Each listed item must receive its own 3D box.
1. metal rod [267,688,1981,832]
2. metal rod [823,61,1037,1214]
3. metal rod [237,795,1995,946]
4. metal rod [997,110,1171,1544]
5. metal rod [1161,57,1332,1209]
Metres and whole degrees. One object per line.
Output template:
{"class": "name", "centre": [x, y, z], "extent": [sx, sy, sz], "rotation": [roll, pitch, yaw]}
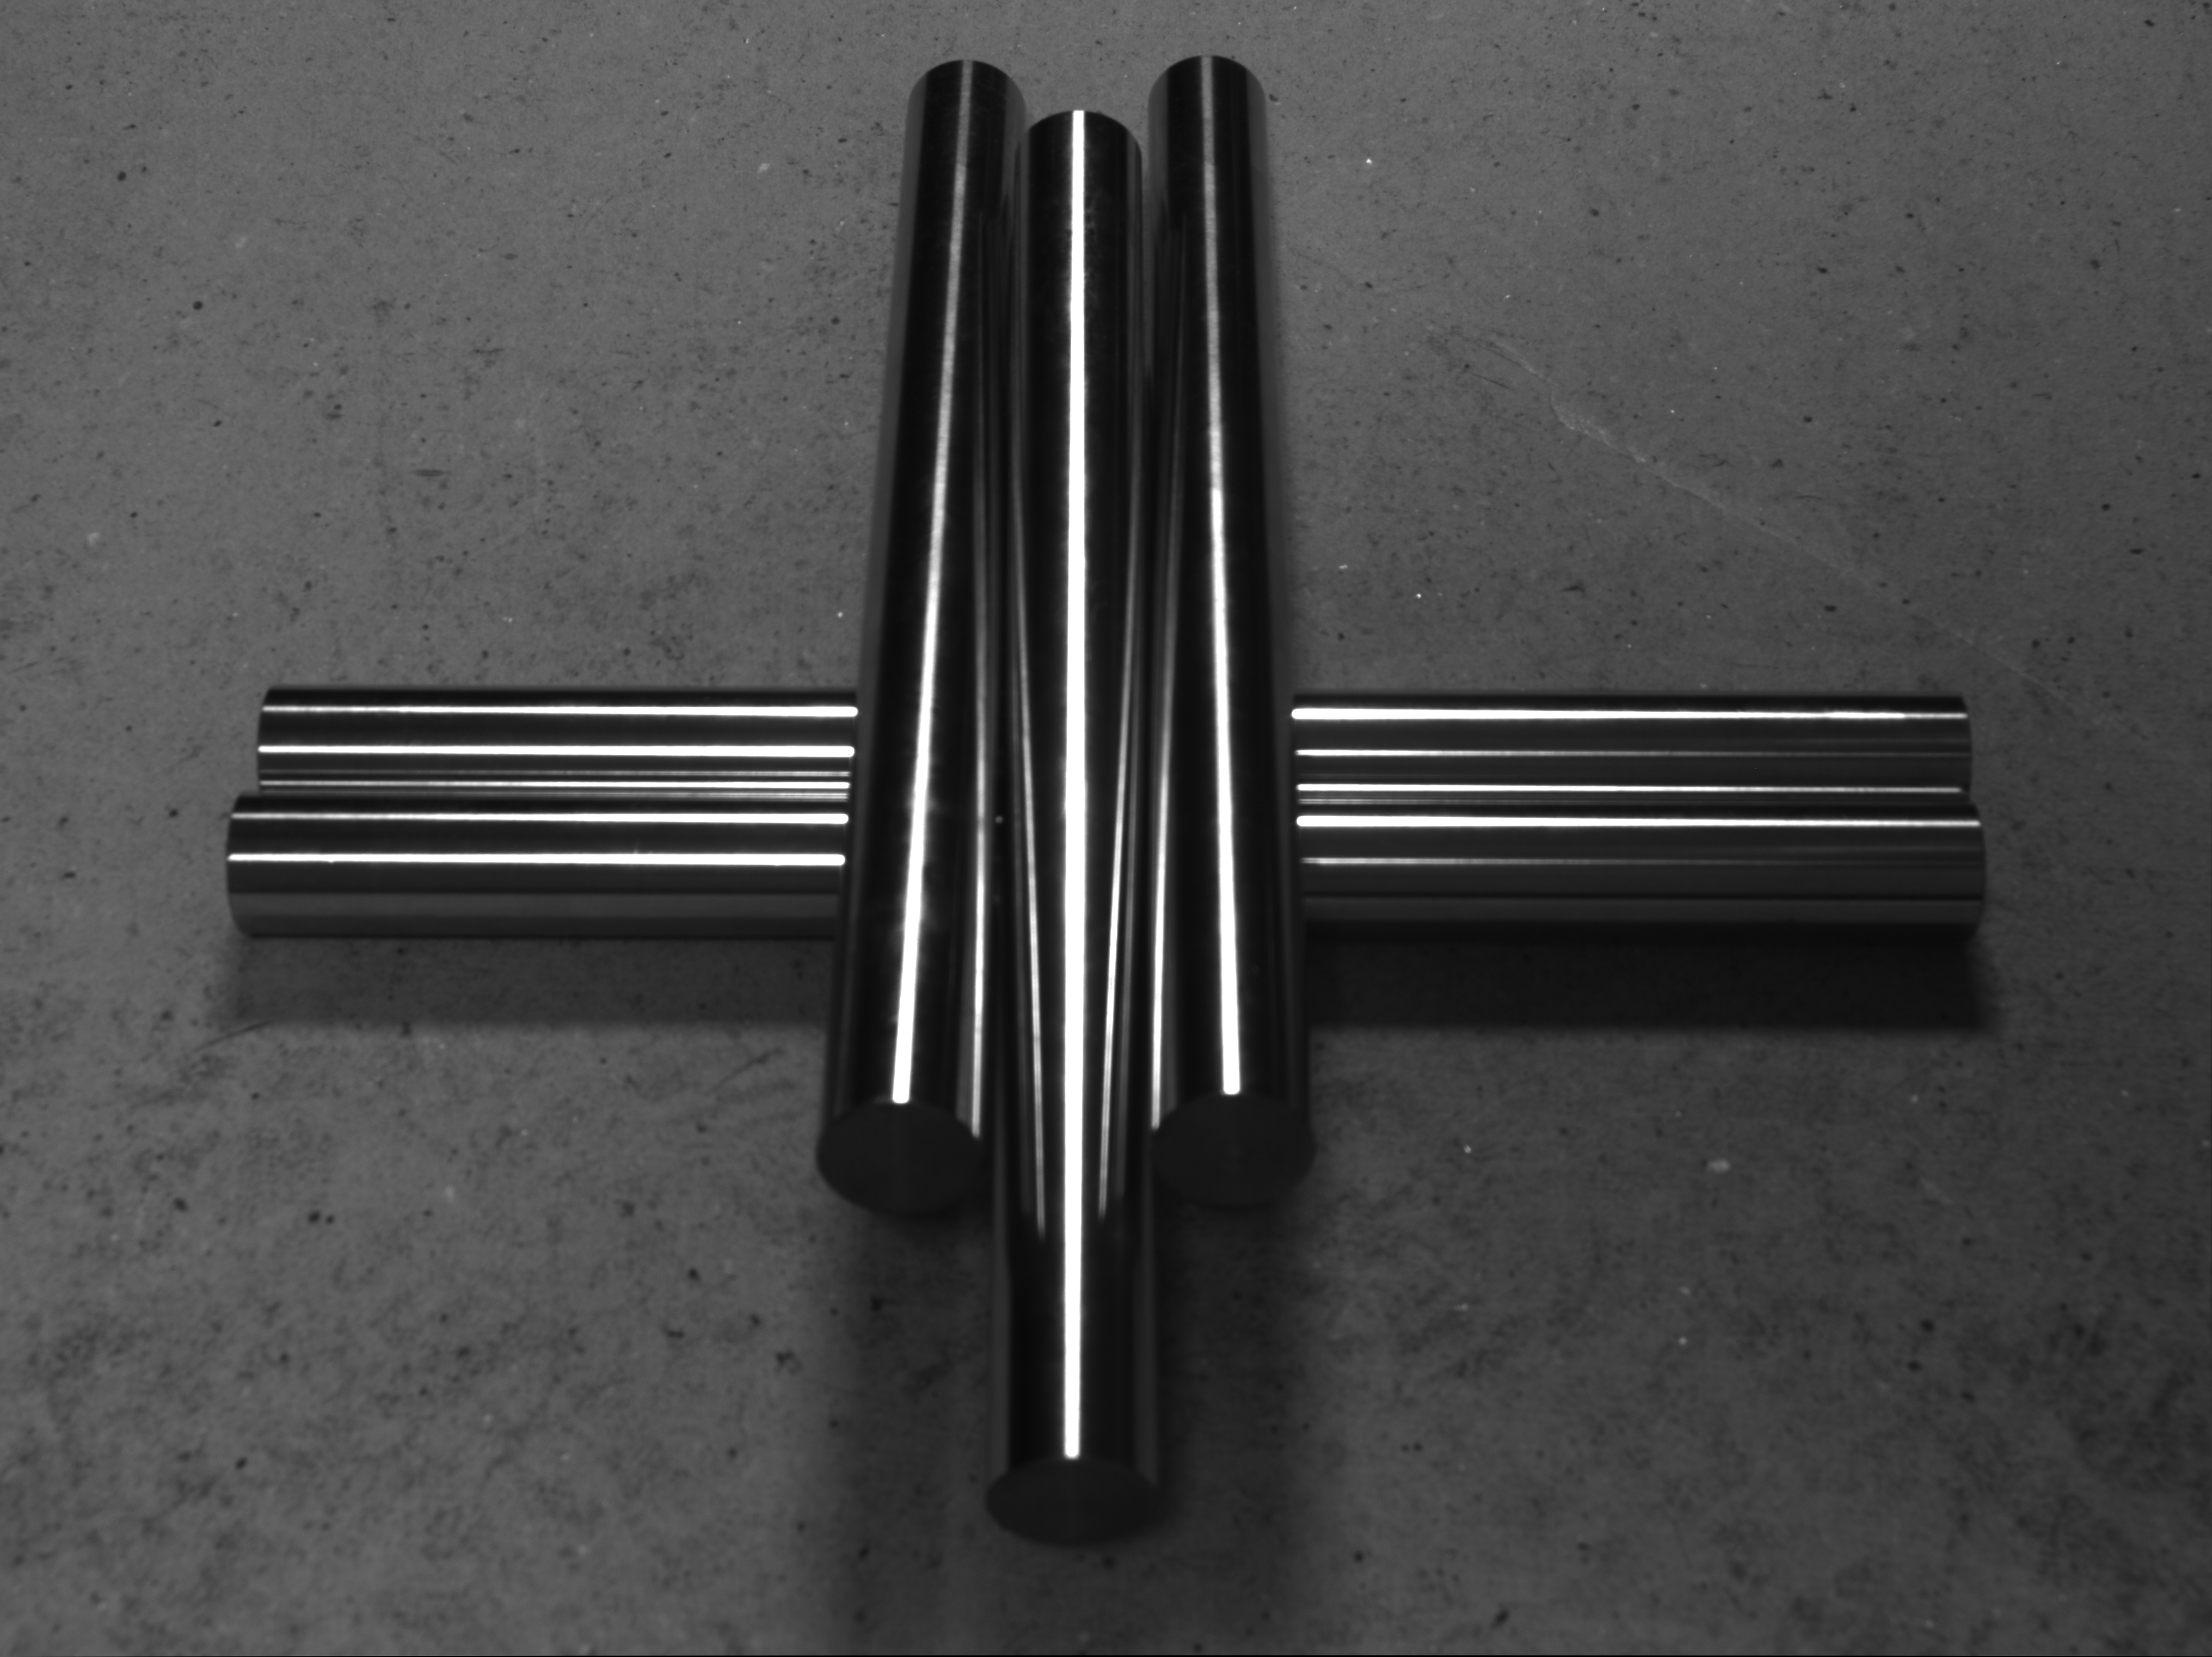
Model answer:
{"class": "metal rod", "centre": [0.003, -0.012, 0.653], "extent": [0.300, 0.025, 0.025], "rotation": [0, 50, 0]}
{"class": "metal rod", "centre": [-0.028, -0.051, 0.658], "extent": [0.025, 0.025, 0.300], "rotation": [0, 42, 0]}
{"class": "metal rod", "centre": [0.002, 0.007, 0.637], "extent": [0.300, 0.025, 0.025], "rotation": [0, 50, 0]}
{"class": "metal rod", "centre": [-0.003, -0.017, 0.624], "extent": [0.025, 0.025, 0.300], "rotation": [0, 50, 0]}
{"class": "metal rod", "centre": [0.023, -0.051, 0.658], "extent": [0.025, 0.025, 0.300], "rotation": [0, 42, 0]}
